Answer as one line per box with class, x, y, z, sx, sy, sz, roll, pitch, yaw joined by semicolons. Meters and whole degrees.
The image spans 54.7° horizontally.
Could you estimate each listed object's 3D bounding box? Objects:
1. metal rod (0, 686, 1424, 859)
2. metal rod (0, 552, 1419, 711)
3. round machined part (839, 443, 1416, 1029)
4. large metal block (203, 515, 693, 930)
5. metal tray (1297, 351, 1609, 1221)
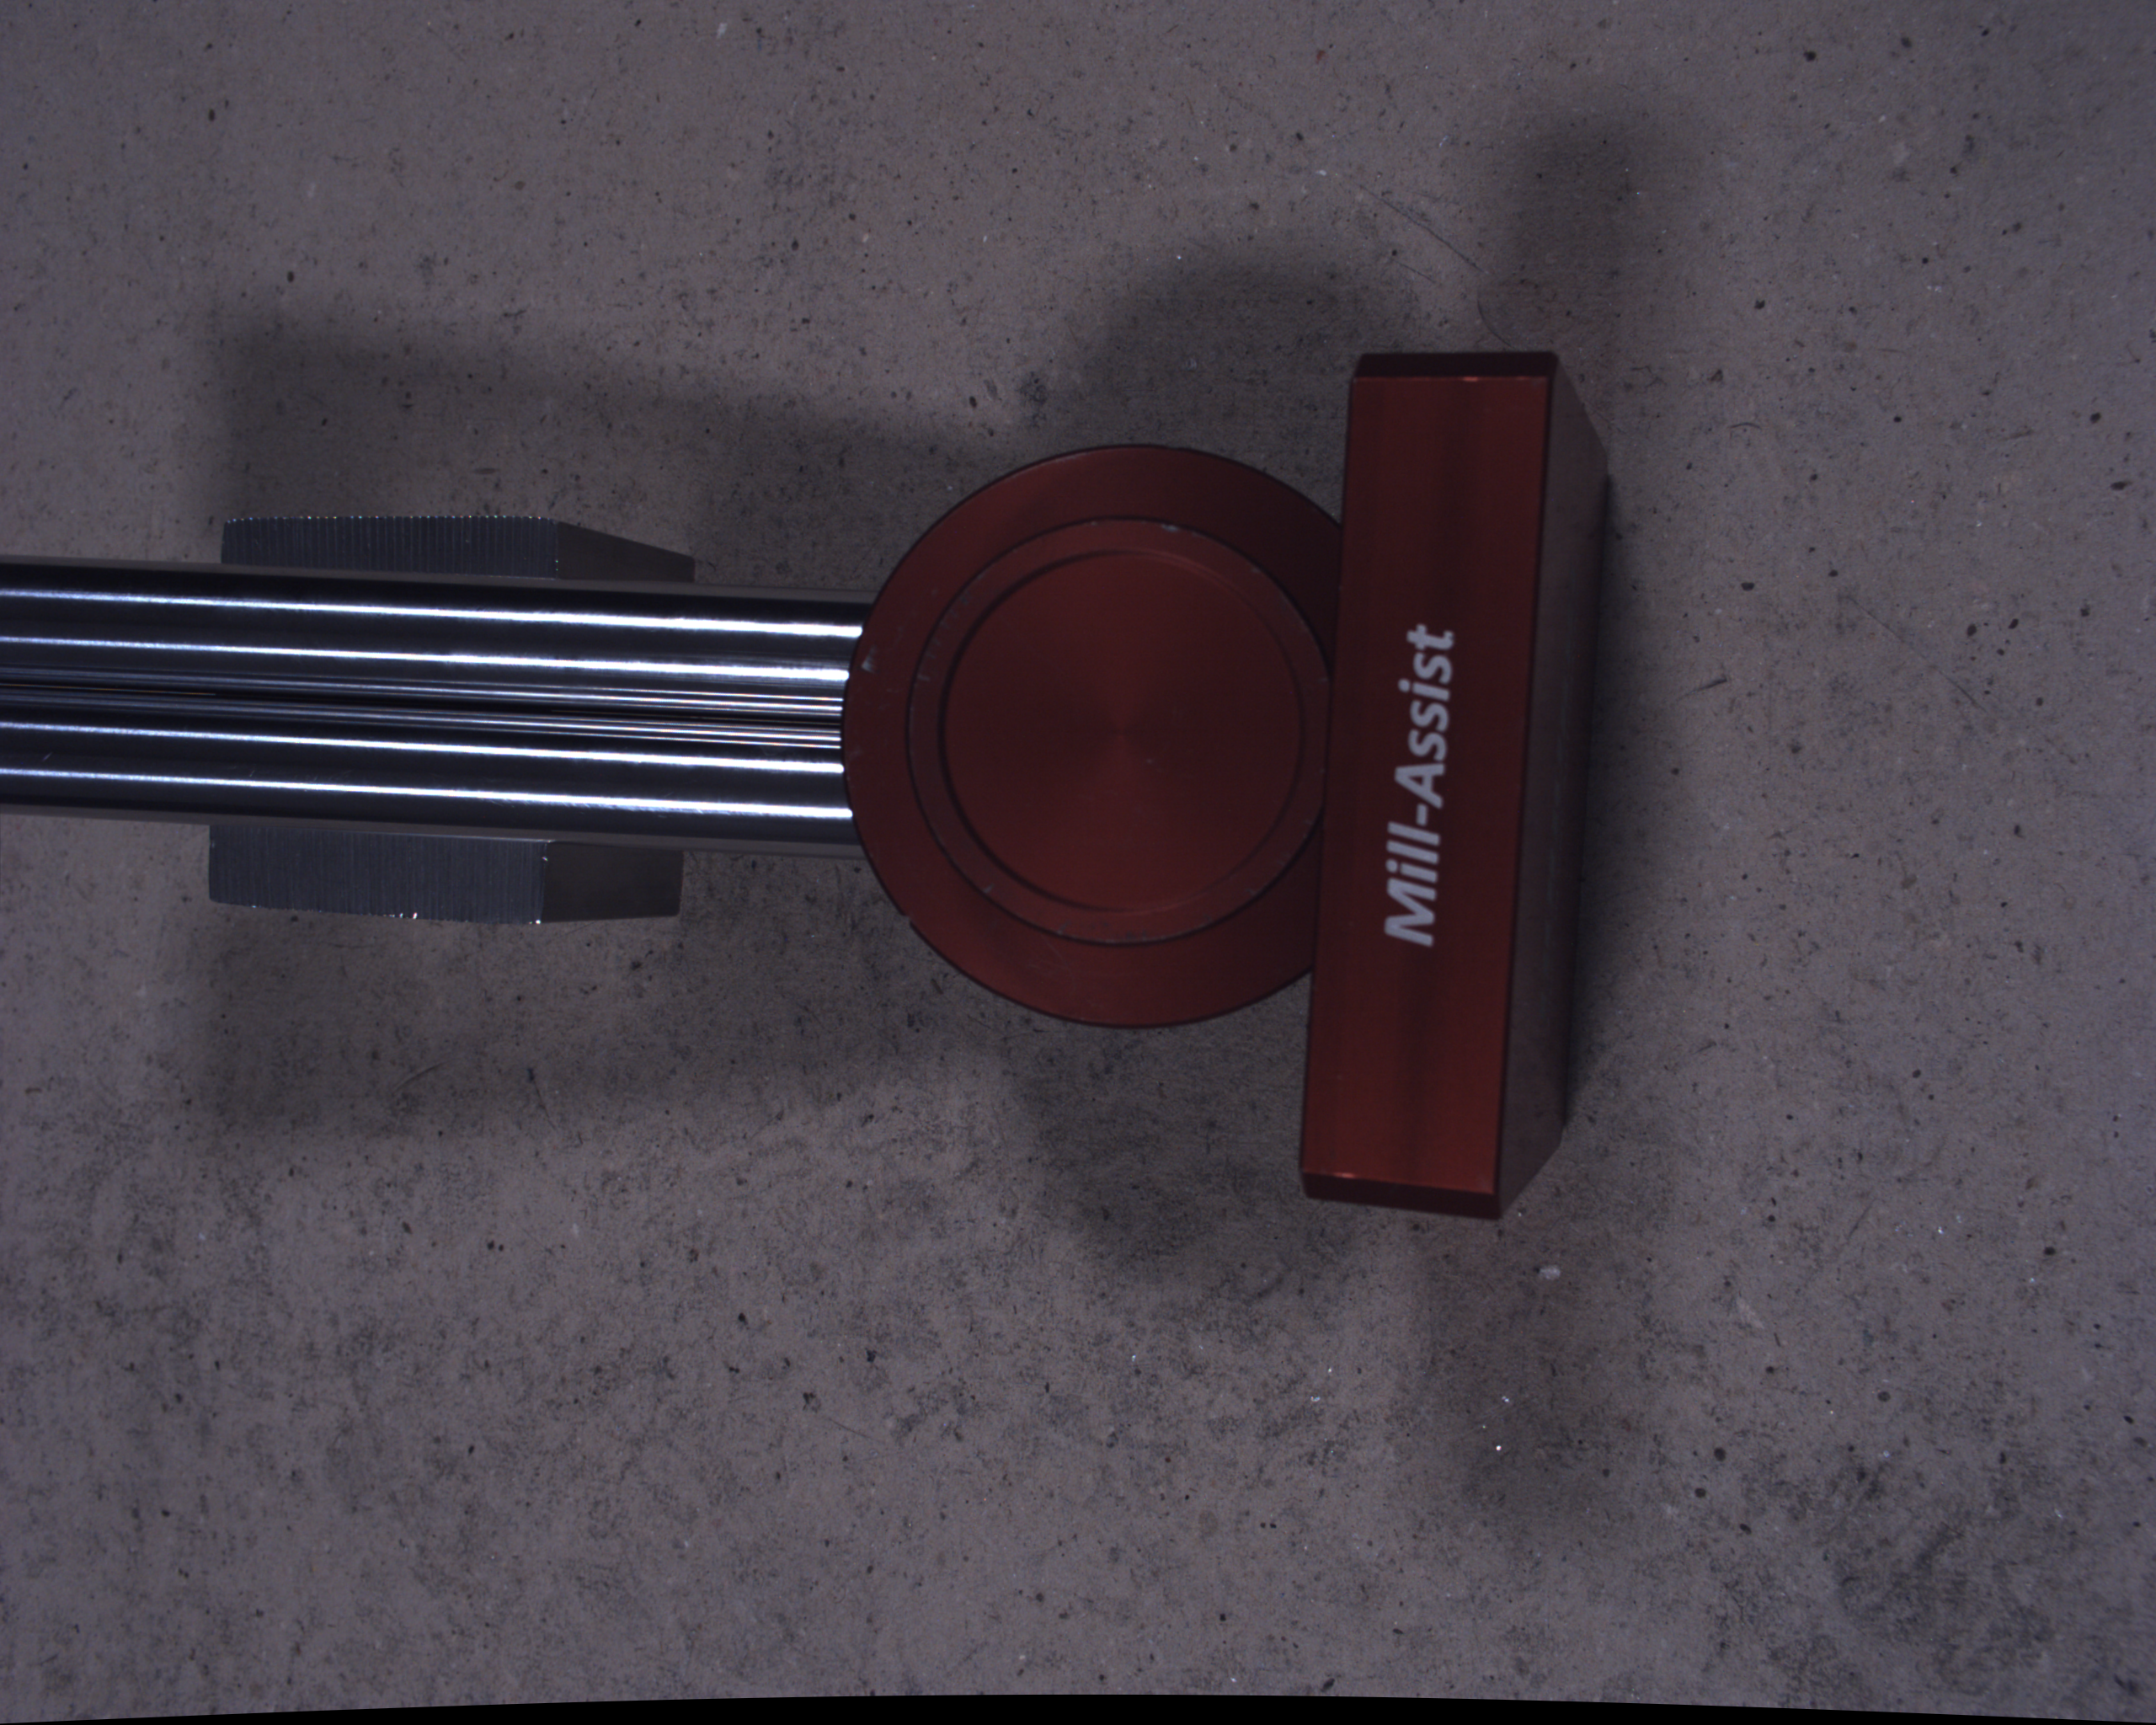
metal rod;-0.082;-0.015;0.390;0.302;0.025;0.025;3;91;7
metal rod;-0.081;-0.042;0.389;0.302;0.025;0.025;3;91;7
round machined part;0.008;-0.021;0.346;0.098;0.042;0.097;0;92;9
large metal block;-0.131;-0.029;0.438;0.080;0.050;0.079;4;91;19
metal tray;0.066;-0.012;0.351;0.030;0.090;0.129;4;91;20
